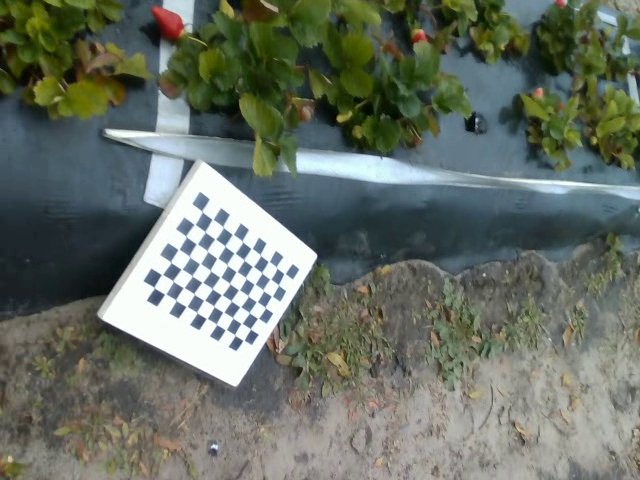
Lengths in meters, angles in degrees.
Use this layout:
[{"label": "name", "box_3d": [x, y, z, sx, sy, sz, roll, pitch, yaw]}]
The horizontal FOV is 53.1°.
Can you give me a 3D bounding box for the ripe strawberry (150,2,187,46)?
[{"label": "ripe strawberry", "box_3d": [-0.196, -0.293, 0.863, 0.037, 0.042, 0.051, 27, -6, 47]}]
